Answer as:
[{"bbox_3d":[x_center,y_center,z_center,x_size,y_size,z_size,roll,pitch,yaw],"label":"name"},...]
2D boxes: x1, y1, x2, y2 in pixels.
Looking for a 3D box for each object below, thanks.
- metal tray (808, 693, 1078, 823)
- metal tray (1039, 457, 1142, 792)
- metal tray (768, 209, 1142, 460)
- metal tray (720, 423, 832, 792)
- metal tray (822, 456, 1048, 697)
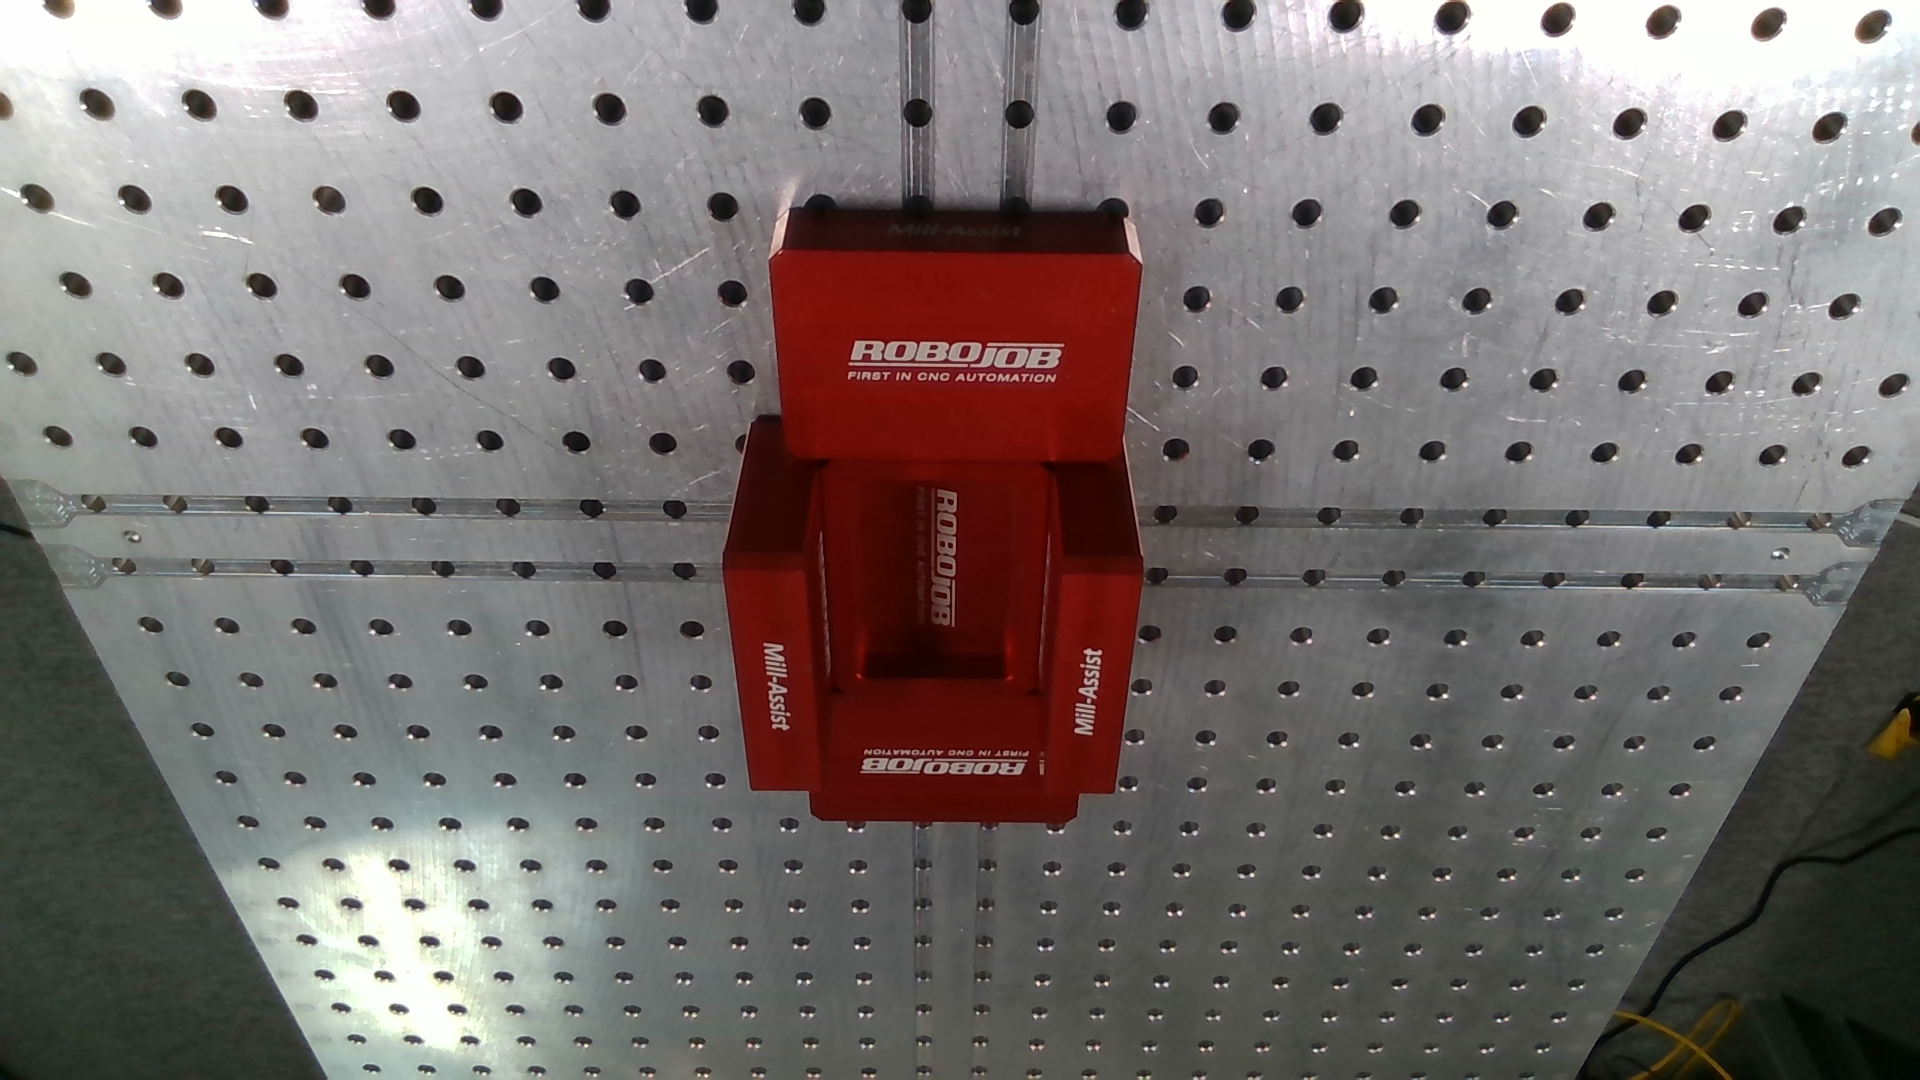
[{"bbox_3d":[-0.008,0.095,0.656,0.130,0.030,0.090,1,131,-1],"label":"metal tray"},{"bbox_3d":[0.050,0.029,0.564,0.030,0.090,0.130,1,130,0],"label":"metal tray"},{"bbox_3d":[-0.002,-0.075,0.515,0.130,0.030,0.090,1,130,-1],"label":"metal tray"},{"bbox_3d":[-0.071,0.029,0.562,0.030,0.090,0.130,1,130,0],"label":"metal tray"},{"bbox_3d":[-0.010,0.011,0.585,0.090,0.030,0.130,1,130,0],"label":"metal tray"}]
